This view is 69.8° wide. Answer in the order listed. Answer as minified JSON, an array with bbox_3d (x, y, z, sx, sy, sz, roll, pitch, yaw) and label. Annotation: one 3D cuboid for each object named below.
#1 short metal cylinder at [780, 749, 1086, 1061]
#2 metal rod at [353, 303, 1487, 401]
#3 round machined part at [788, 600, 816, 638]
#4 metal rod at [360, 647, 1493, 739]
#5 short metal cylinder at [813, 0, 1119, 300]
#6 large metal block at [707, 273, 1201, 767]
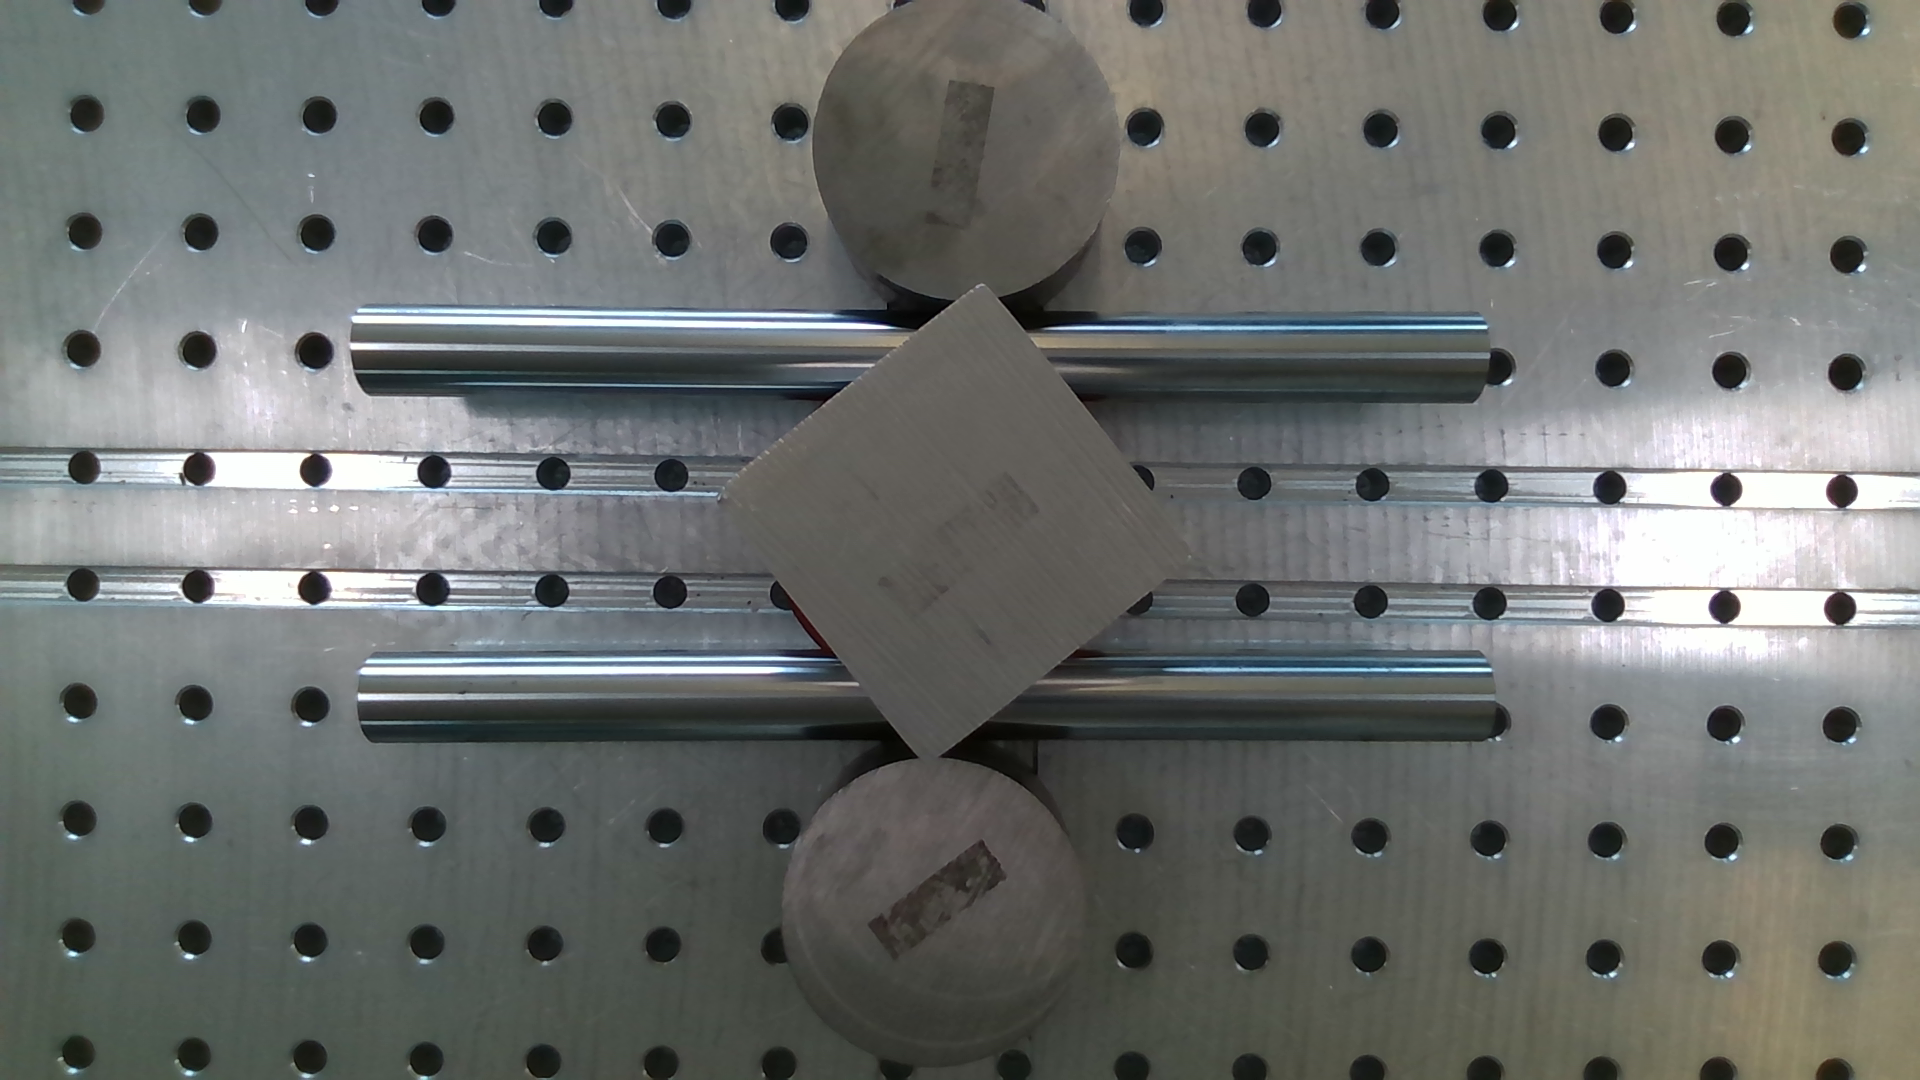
[{"bbox_3d":[-0.007,0.097,0.385,0.080,0.050,0.080,0,90,0],"label":"short metal cylinder"},{"bbox_3d":[-0.010,-0.051,0.377,0.300,0.025,0.025,0,90,0],"label":"metal rod"},{"bbox_3d":[-0.005,-0.005,0.390,0.098,0.042,0.098,0,90,0],"label":"round machined part"},{"bbox_3d":[-0.009,0.042,0.377,0.300,0.025,0.025,0,90,0],"label":"metal rod"},{"bbox_3d":[0.002,-0.104,0.385,0.080,0.050,0.080,0,90,0],"label":"short metal cylinder"},{"bbox_3d":[-0.001,-0.004,0.338,0.080,0.050,0.080,-38,90,0],"label":"large metal block"}]
